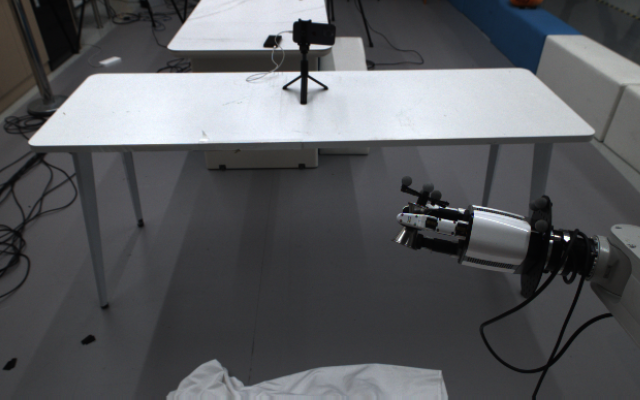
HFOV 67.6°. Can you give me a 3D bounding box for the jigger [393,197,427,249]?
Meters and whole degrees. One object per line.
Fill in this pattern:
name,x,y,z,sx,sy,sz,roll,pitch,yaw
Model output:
jigger,0.145,0.039,0.770,0.043,0.071,0.043,24,-3,1
